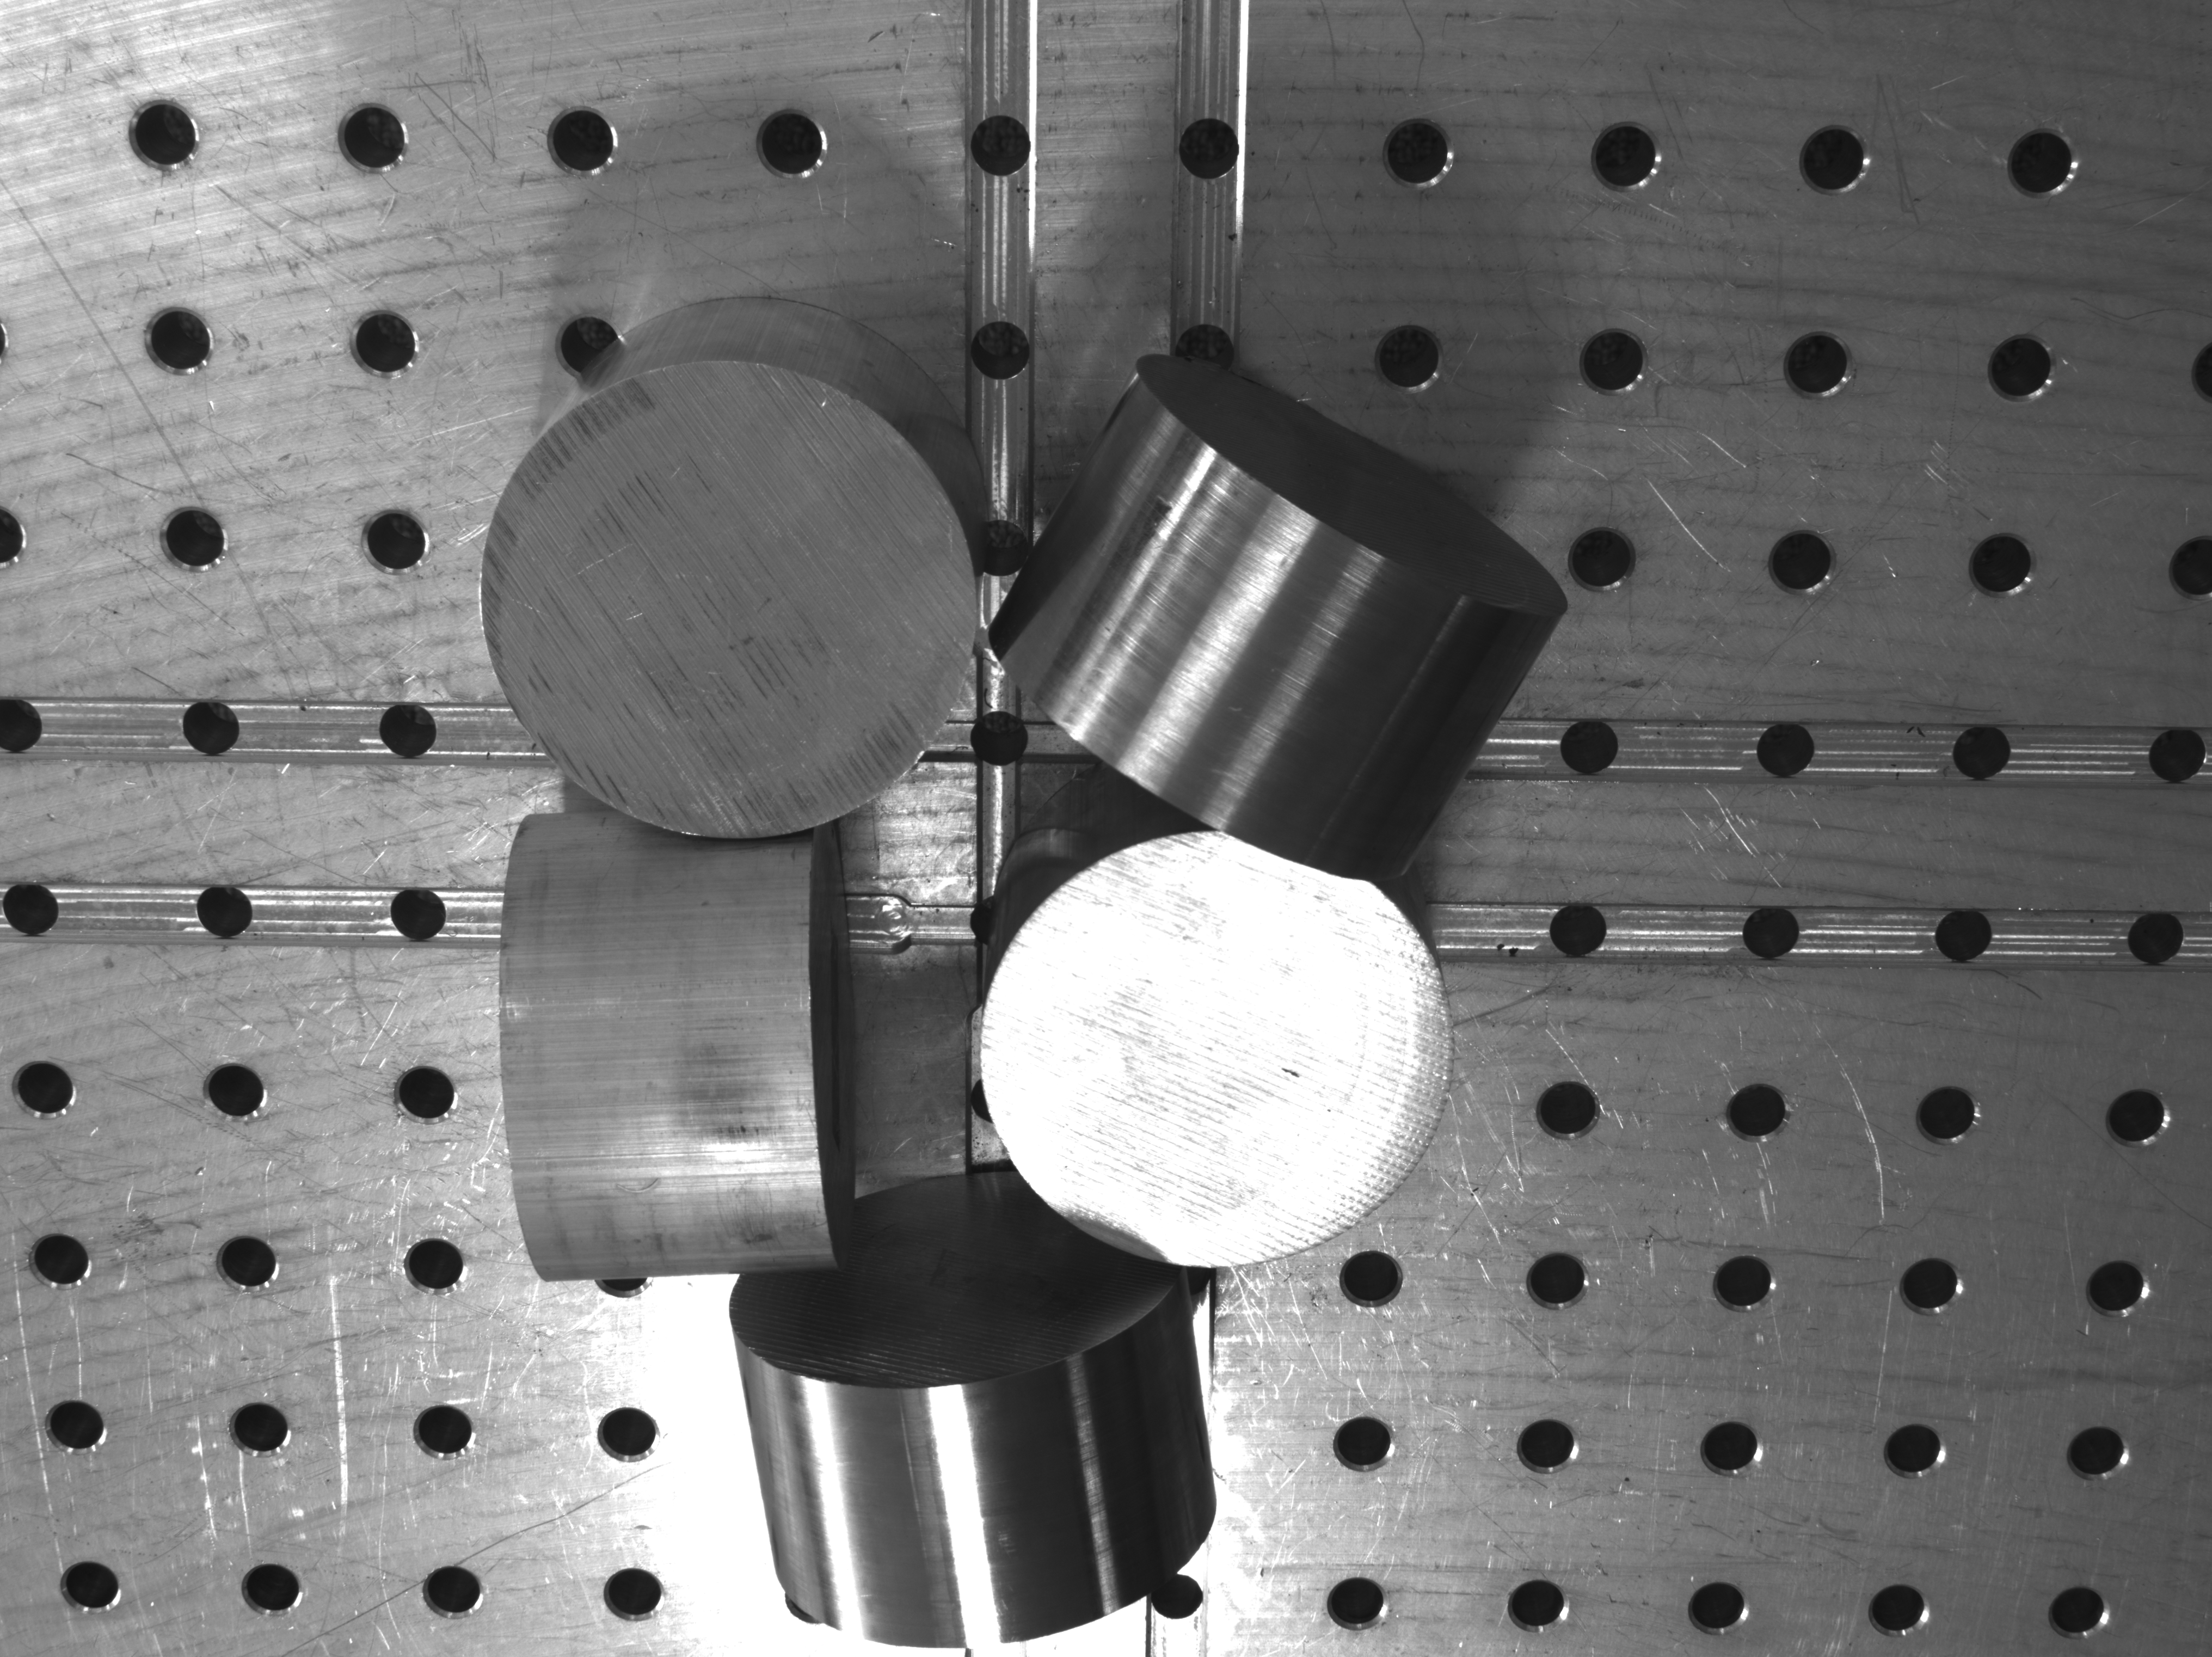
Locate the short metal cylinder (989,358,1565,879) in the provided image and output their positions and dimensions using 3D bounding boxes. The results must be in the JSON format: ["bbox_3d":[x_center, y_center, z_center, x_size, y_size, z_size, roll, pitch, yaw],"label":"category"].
[{"bbox_3d":[0.028,-0.035,0.604,0.080,0.080,0.050,27,107,-9],"label":"short metal cylinder"}]

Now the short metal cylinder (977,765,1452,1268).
[{"bbox_3d":[0.018,0.029,0.644,0.080,0.050,0.080,0,110,0],"label":"short metal cylinder"}]

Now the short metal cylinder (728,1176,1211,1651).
[{"bbox_3d":[-0.024,0.102,0.653,0.080,0.080,0.050,-6,110,2],"label":"short metal cylinder"}]

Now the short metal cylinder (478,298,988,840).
[{"bbox_3d":[-0.061,-0.044,0.616,0.080,0.050,0.080,0,110,1],"label":"short metal cylinder"}]

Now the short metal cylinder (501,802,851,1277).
[{"bbox_3d":[-0.071,0.036,0.631,0.050,0.080,0.080,-2,110,1],"label":"short metal cylinder"}]
